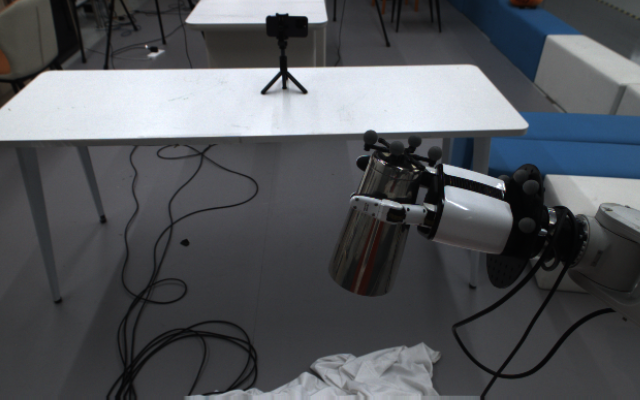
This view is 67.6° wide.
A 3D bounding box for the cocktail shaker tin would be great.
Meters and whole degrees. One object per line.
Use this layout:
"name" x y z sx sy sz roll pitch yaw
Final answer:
"cocktail shaker tin" 0.078 0.023 0.620 0.093 0.170 0.093 12 25 -6
